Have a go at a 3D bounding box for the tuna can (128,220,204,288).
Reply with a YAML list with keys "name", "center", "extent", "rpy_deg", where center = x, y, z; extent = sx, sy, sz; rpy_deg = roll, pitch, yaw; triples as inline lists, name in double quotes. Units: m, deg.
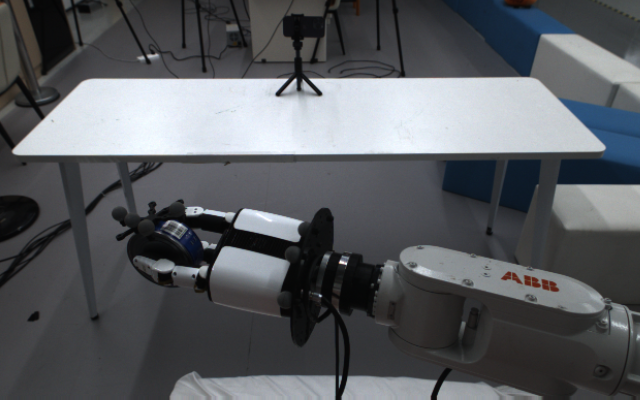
- name: "tuna can"
  center: [-0.180, 0.065, 0.586]
  extent: [0.085, 0.085, 0.034]
  rpy_deg: [9, 33, 10]
